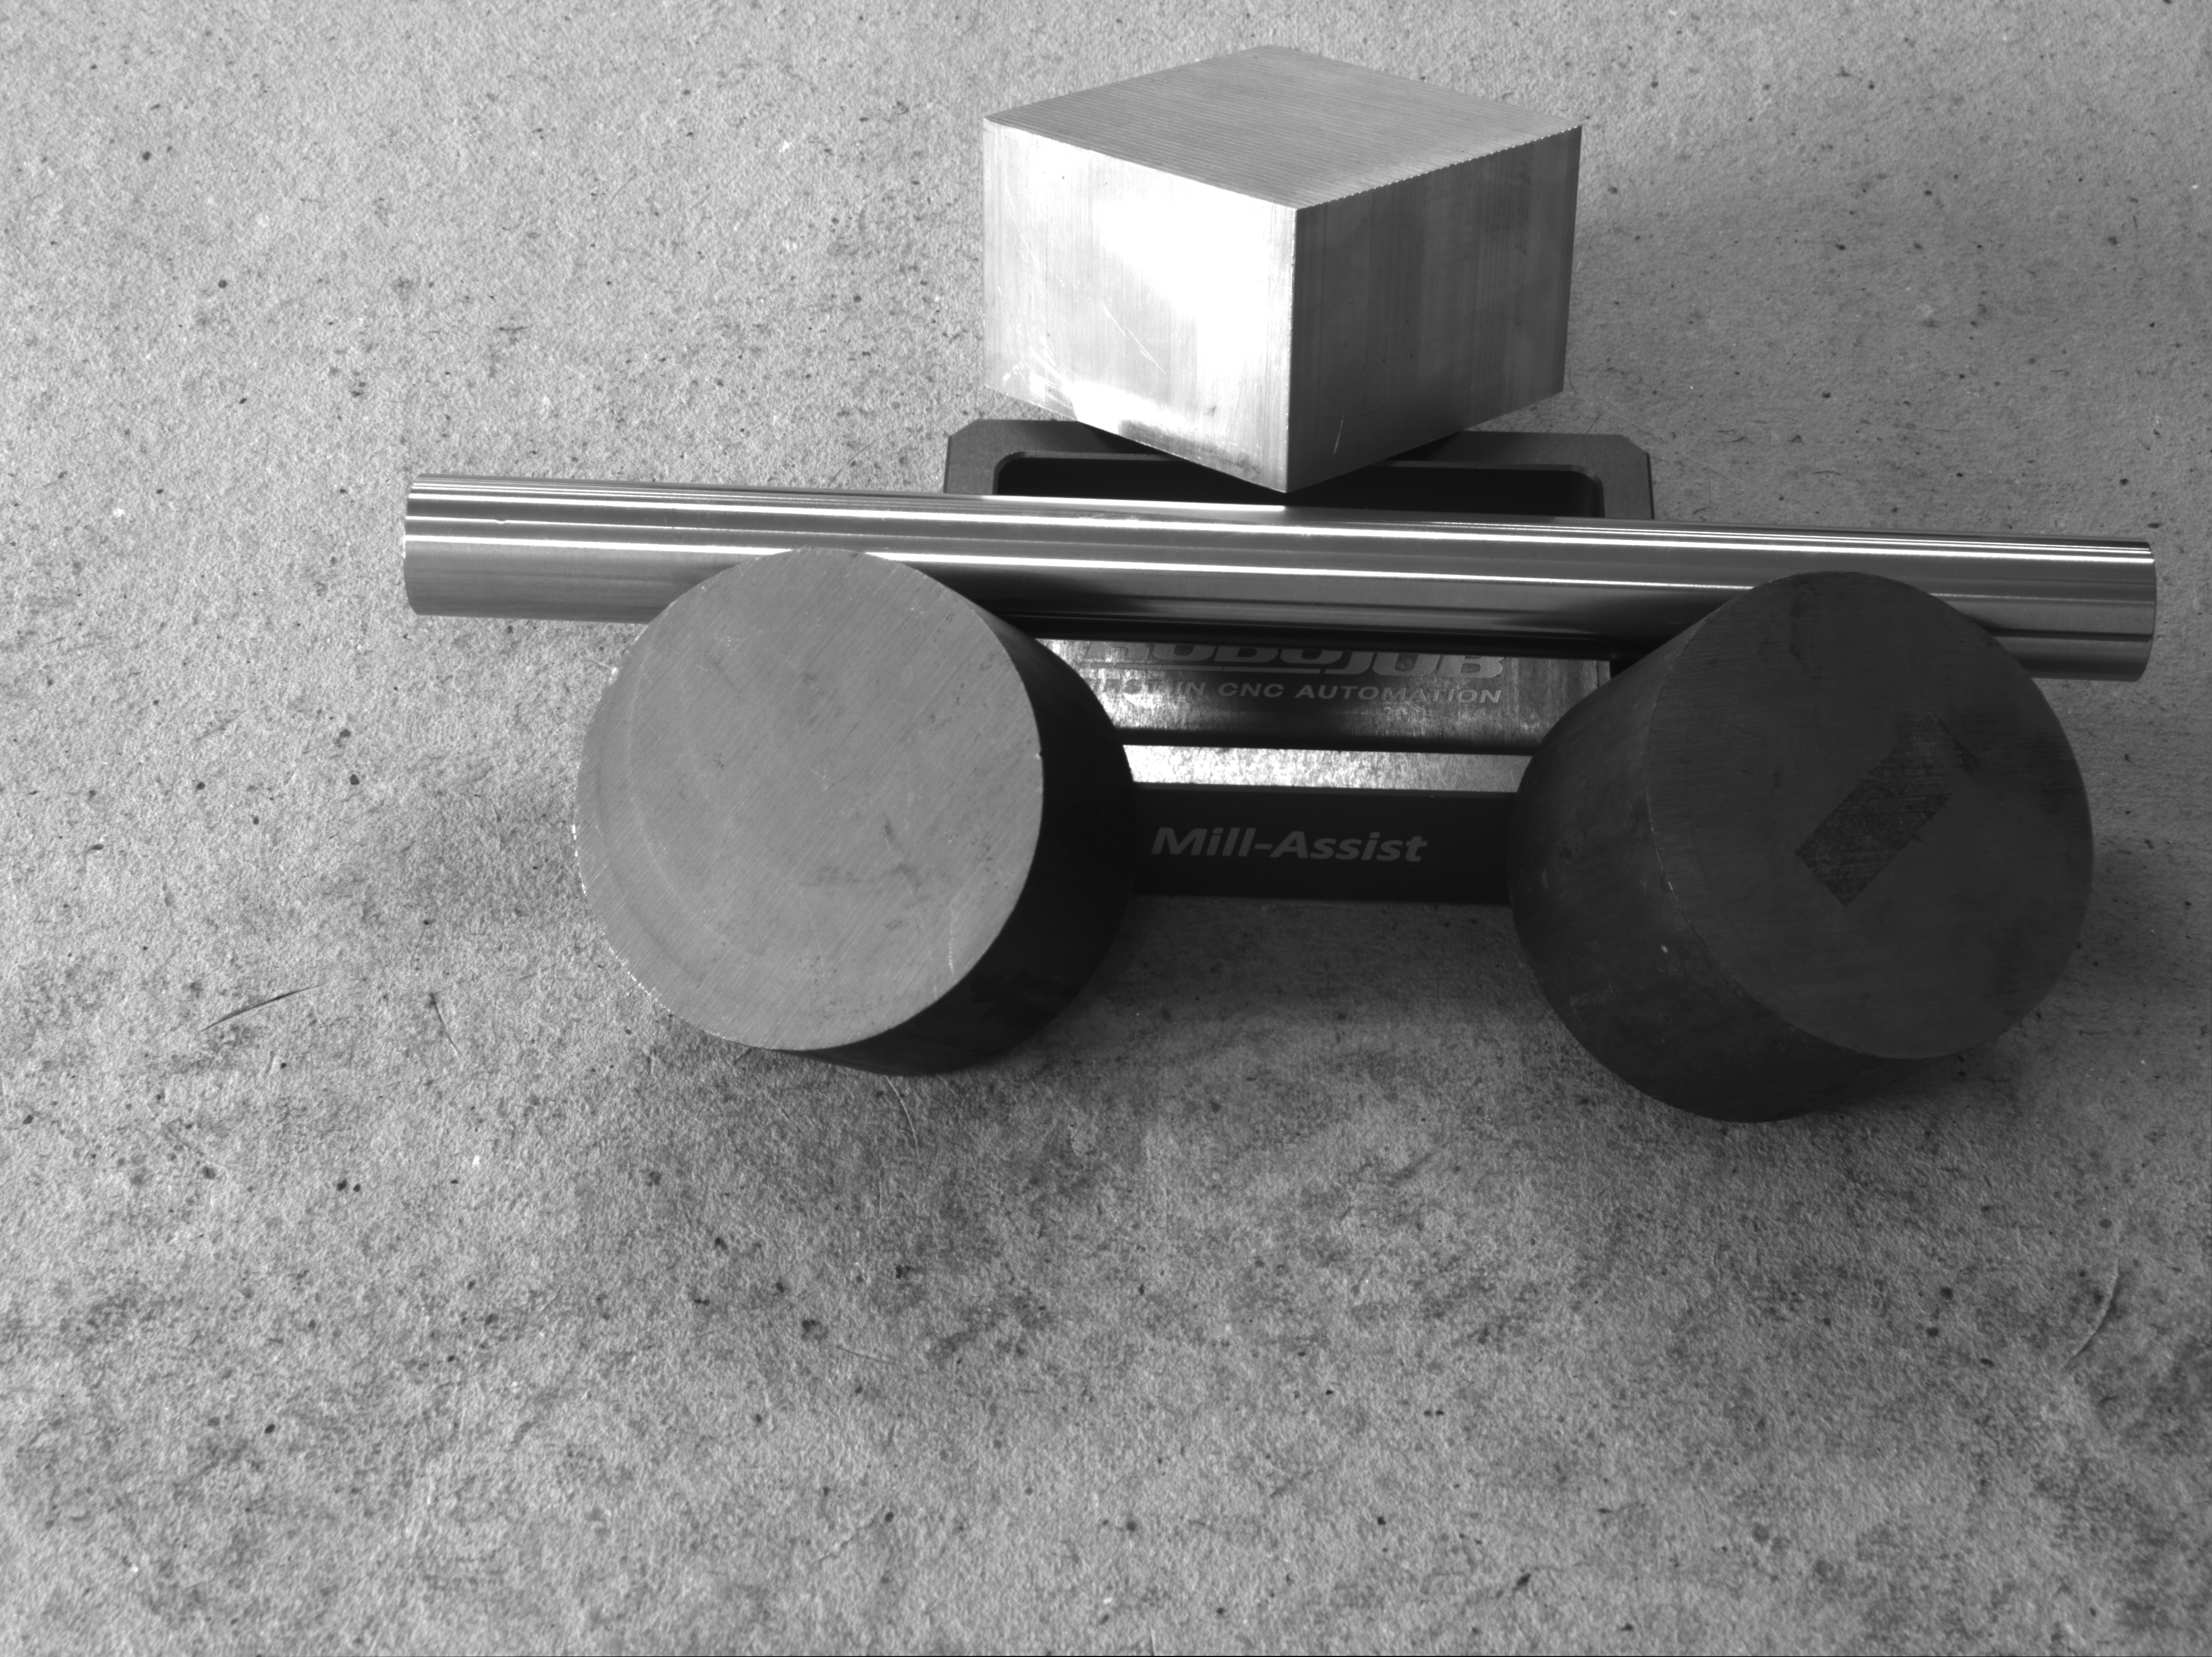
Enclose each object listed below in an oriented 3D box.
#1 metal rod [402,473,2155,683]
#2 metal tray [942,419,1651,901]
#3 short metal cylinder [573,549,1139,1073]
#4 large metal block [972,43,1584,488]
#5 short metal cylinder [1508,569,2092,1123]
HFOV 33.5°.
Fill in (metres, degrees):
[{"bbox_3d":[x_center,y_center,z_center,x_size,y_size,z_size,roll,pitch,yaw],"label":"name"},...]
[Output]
[{"bbox_3d":[0.029,-0.044,0.641,0.300,0.025,0.025,2,50,2],"label":"metal rod"},{"bbox_3d":[0.034,-0.031,0.667,0.130,0.030,0.090,2,50,1],"label":"metal tray"},{"bbox_3d":[-0.040,-0.001,0.604,0.080,0.050,0.080,-3,81,17],"label":"short metal cylinder"},{"bbox_3d":[0.032,-0.108,0.690,0.080,0.050,0.080,24,35,39],"label":"large metal block"},{"bbox_3d":[0.113,0.004,0.602,0.080,0.050,0.080,6,71,-18],"label":"short metal cylinder"}]
